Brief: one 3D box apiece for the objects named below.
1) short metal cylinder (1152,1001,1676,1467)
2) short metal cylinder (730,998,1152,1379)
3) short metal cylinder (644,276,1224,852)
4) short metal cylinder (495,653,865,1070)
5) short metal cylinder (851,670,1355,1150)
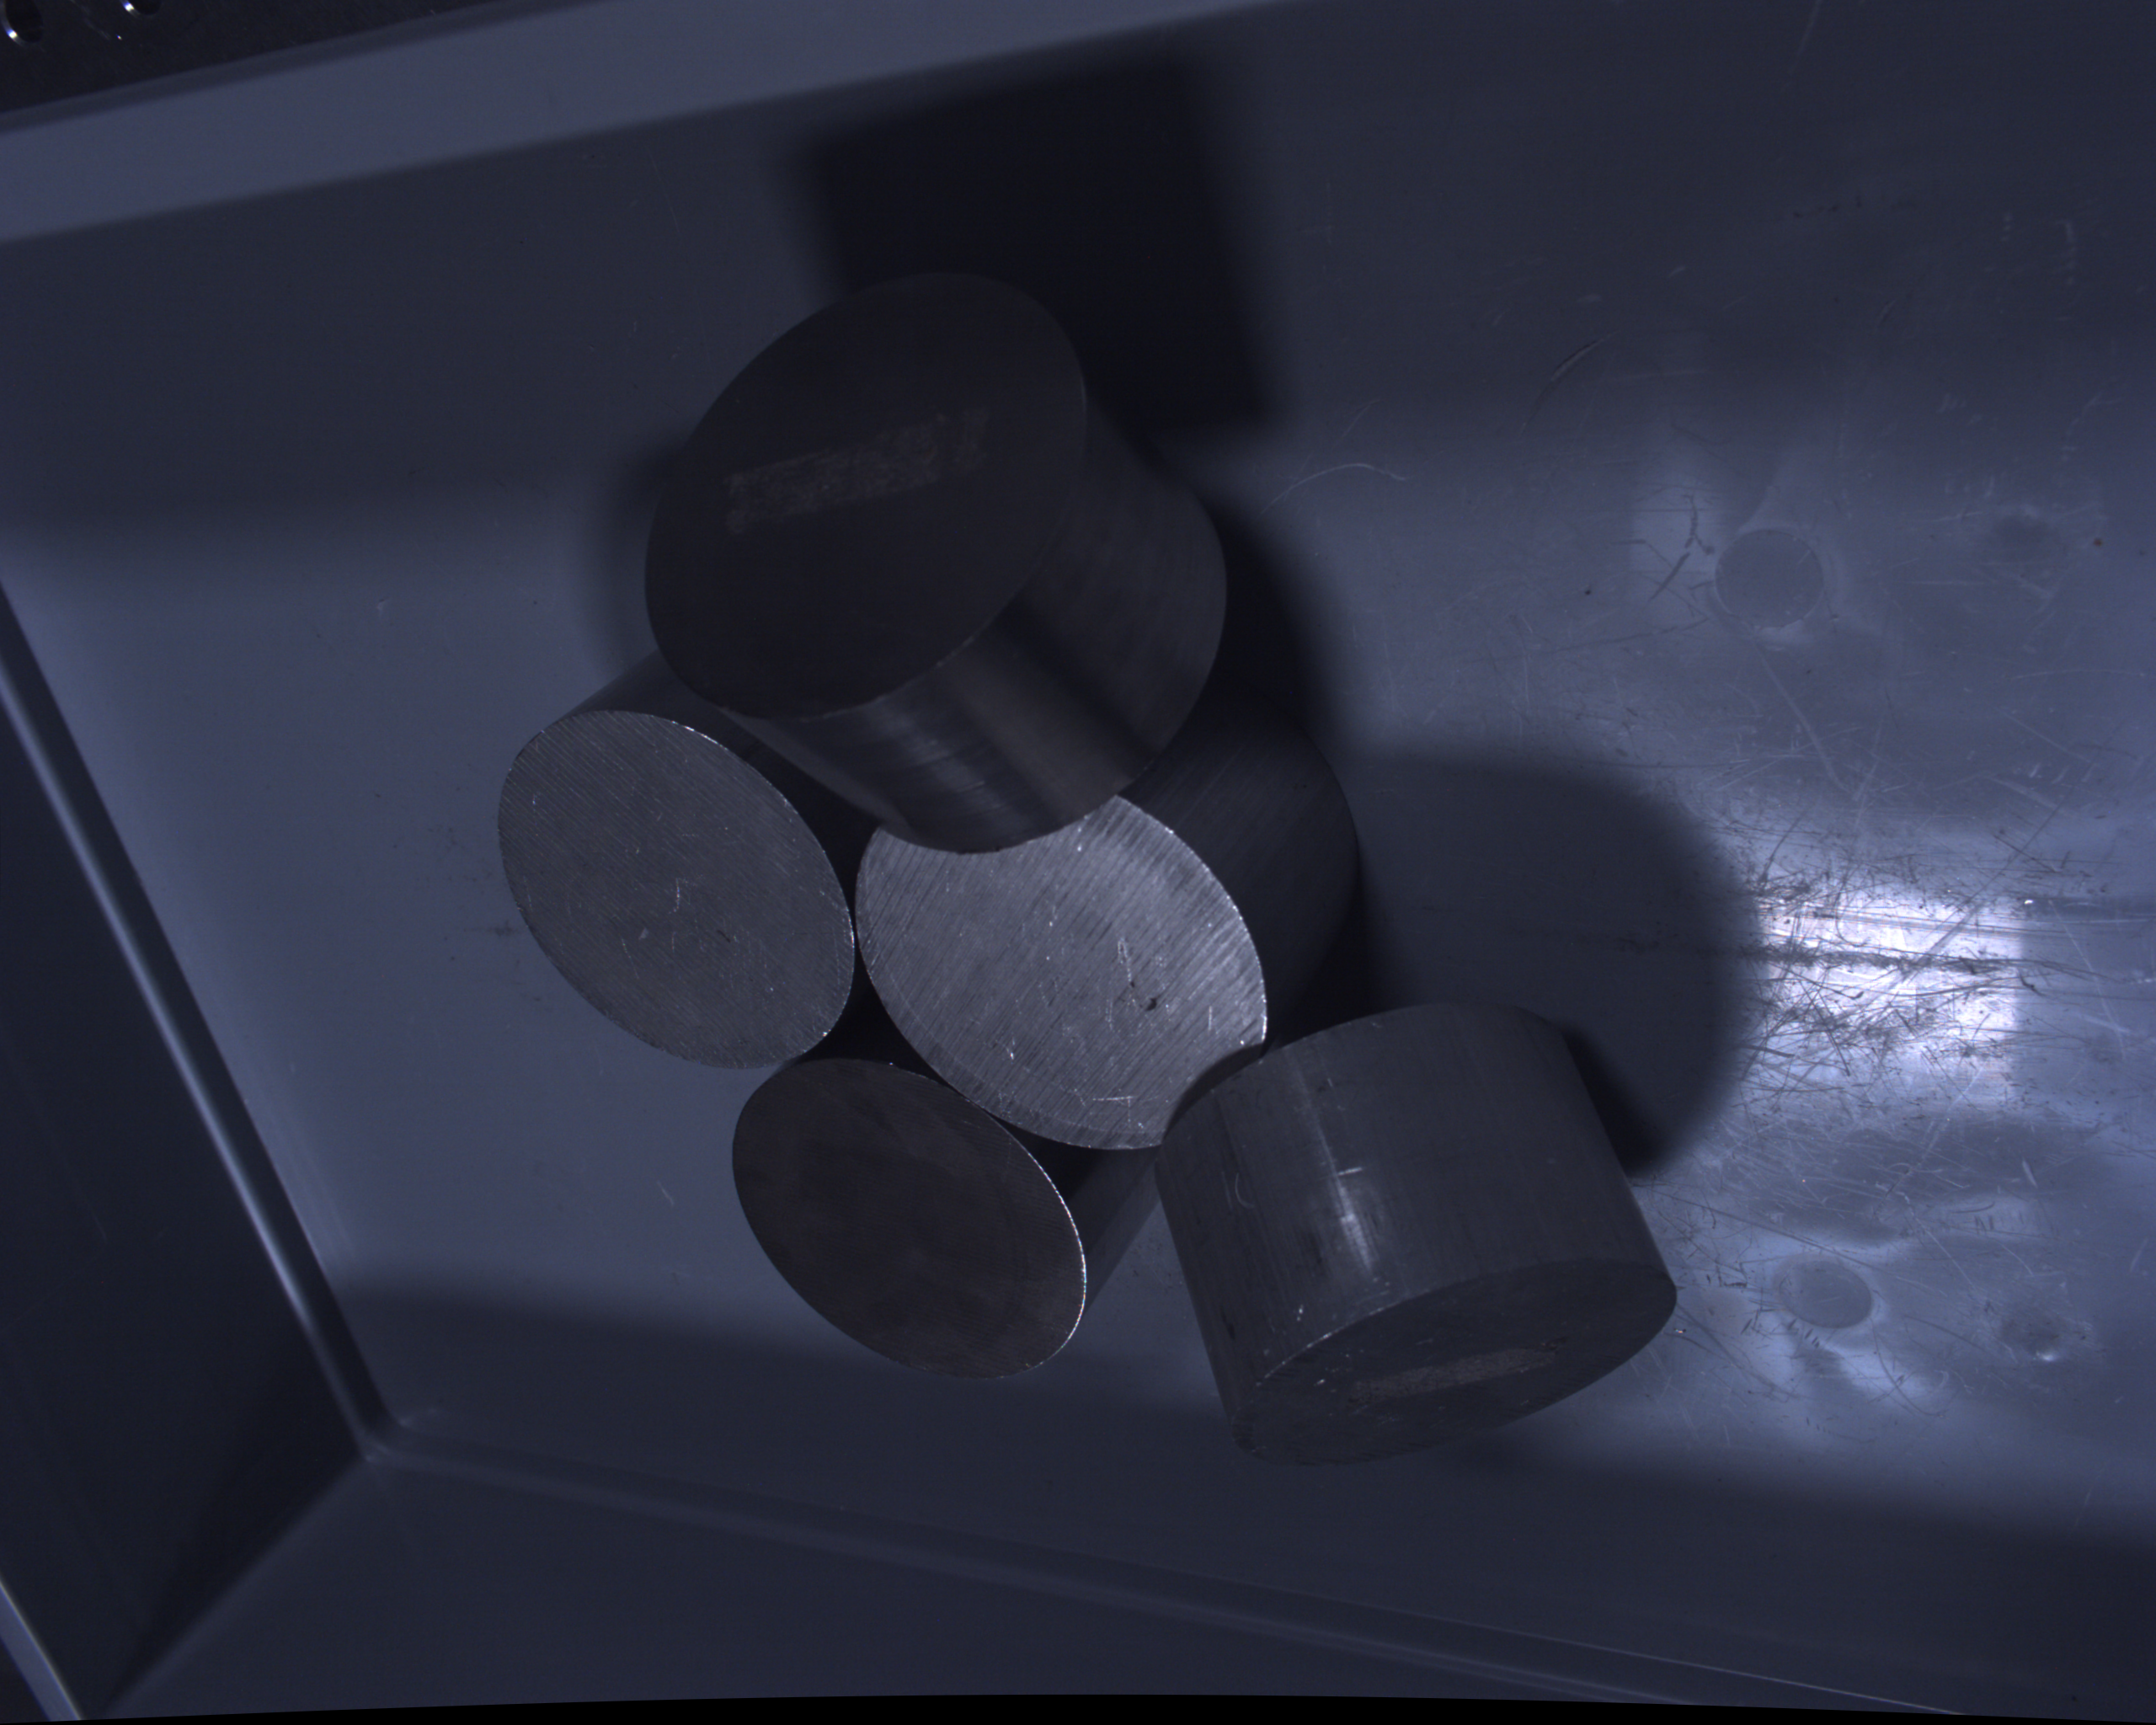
[{"bbox_3d":[0.059,0.068,0.374,0.081,0.050,0.080,-12,145,-8],"label":"short metal cylinder"},{"bbox_3d":[-0.025,0.061,0.439,0.080,0.050,0.079,13,124,20],"label":"short metal cylinder"},{"bbox_3d":[-0.023,-0.048,0.343,0.080,0.080,0.050,-3,155,29],"label":"short metal cylinder"},{"bbox_3d":[-0.069,-0.005,0.421,0.080,0.050,0.079,13,124,20],"label":"short metal cylinder"},{"bbox_3d":[0.005,0.006,0.390,0.080,0.050,0.079,13,124,20],"label":"short metal cylinder"}]
